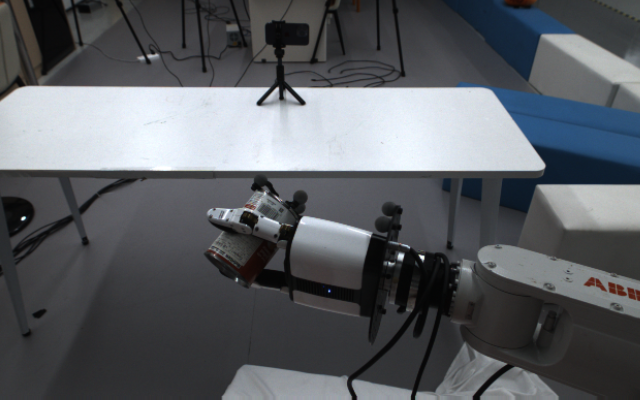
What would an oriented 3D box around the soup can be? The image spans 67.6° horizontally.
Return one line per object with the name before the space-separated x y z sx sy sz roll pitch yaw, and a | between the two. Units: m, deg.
soup can | -0.080 0.046 0.585 0.067 0.067 0.101 25 66 30
